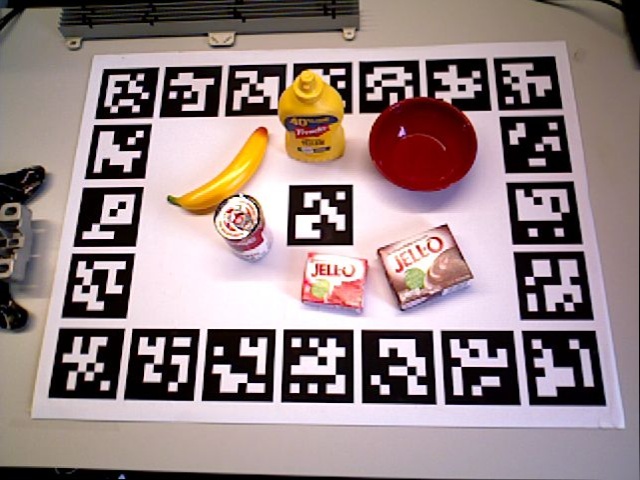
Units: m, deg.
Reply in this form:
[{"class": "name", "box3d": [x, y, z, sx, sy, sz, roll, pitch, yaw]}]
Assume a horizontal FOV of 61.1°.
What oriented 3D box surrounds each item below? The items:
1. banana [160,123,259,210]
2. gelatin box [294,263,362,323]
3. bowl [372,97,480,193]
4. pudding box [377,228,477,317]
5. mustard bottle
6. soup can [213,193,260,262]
[{"class": "banana", "box3d": [-0.157, -0.108, 0.845, 0.074, 0.039, 0.195, 39, 78, 26]}, {"class": "gelatin box", "box3d": [0.013, 0.075, 0.774, 0.089, 0.030, 0.073, 6, 75, 7]}, {"class": "bowl", "box3d": [0.158, -0.133, 0.824, 0.161, 0.056, 0.160, -2, 70, 5]}, {"class": "pudding box", "box3d": [0.148, 0.046, 0.769, 0.113, 0.039, 0.090, -23, 77, -4]}, {"class": "mustard bottle", "box3d": [-0.014, -0.178, 0.764, 0.096, 0.194, 0.058, 0, 67, 3]}, {"class": "soup can", "box3d": [-0.120, -0.017, 0.767, 0.067, 0.103, 0.067, -1, 68, 1]}]
